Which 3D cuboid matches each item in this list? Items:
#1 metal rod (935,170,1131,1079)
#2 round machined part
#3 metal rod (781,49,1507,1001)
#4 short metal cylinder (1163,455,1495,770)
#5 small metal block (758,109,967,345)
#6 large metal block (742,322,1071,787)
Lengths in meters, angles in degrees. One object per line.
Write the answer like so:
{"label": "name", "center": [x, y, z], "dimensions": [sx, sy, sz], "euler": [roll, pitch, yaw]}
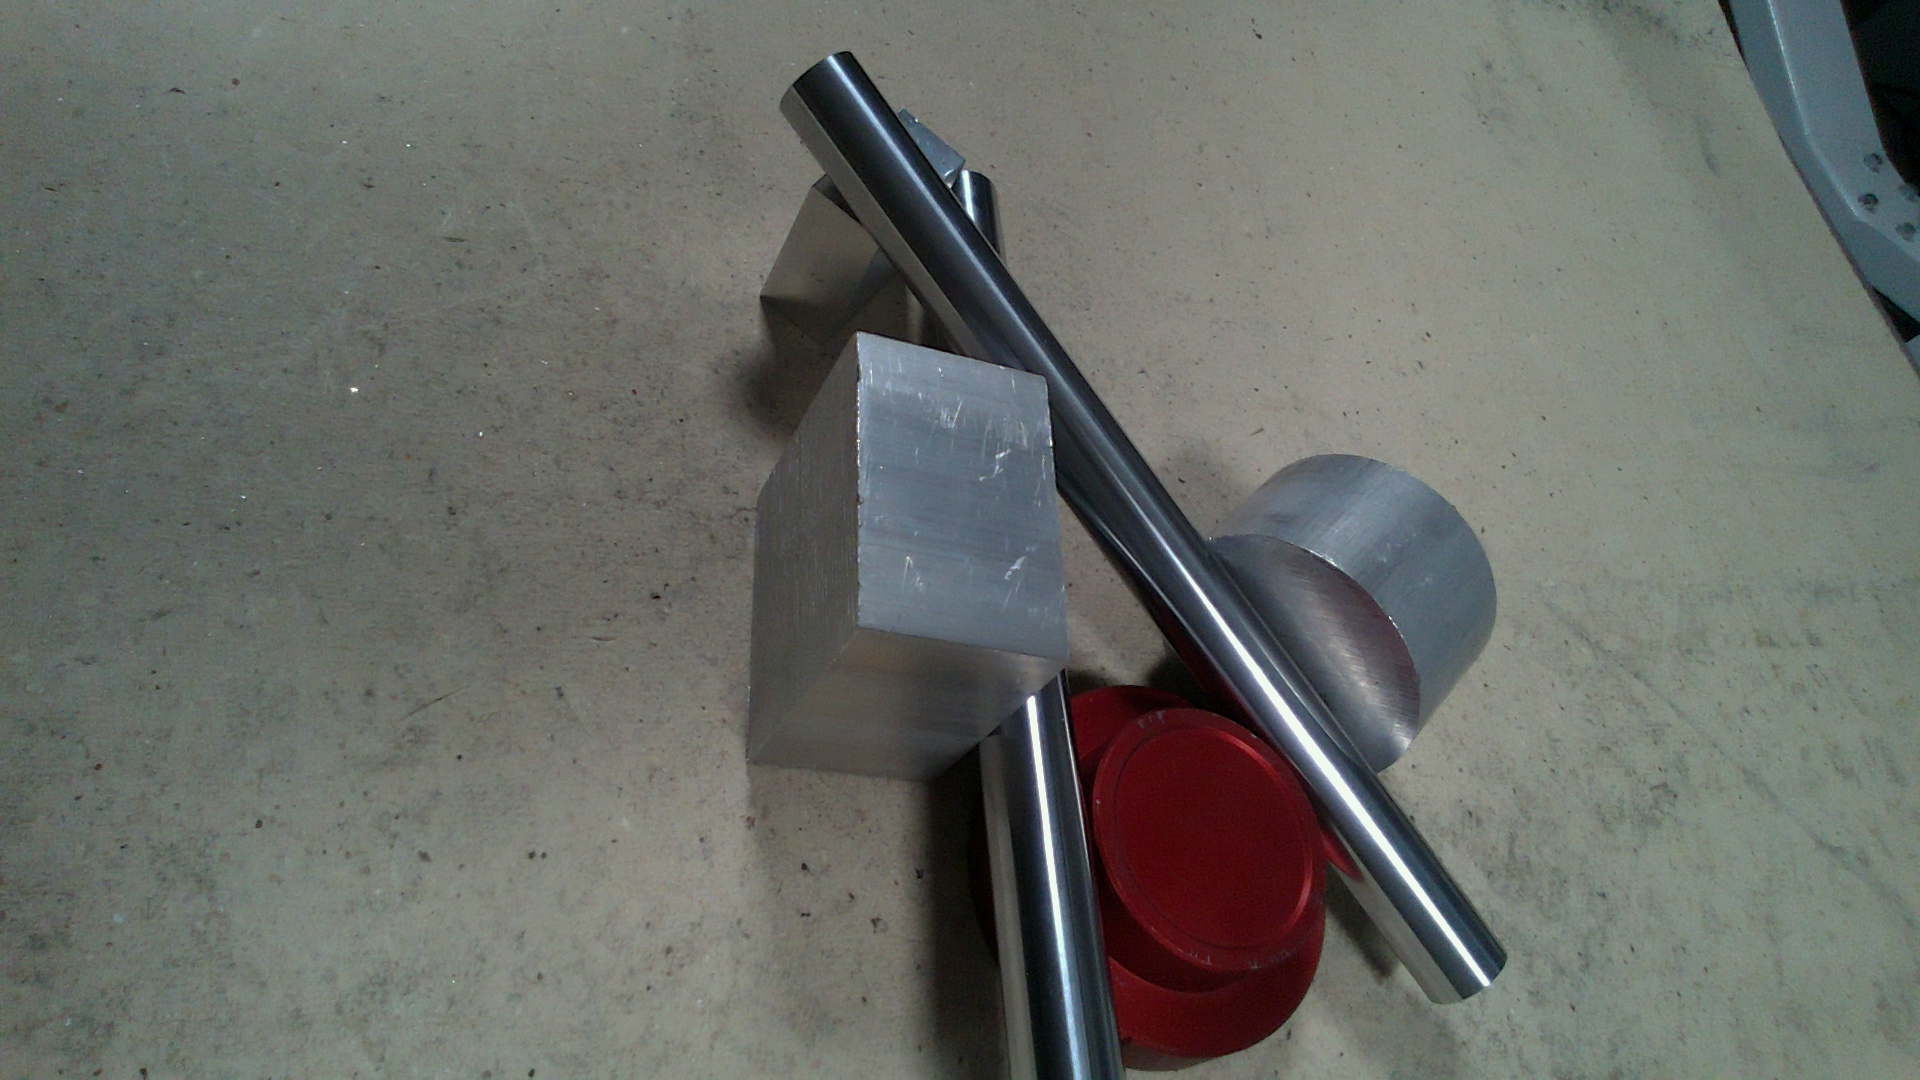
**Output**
{"label": "metal rod", "center": [0.013, 0.007, 0.373], "dimensions": [0.025, 0.025, 0.300], "euler": [11, 51, -22]}
{"label": "round machined part", "center": [0.055, 0.084, 0.358], "dimensions": [0.098, 0.042, 0.098], "euler": [14, 56, -21]}
{"label": "metal rod", "center": [0.050, -0.003, 0.375], "dimensions": [0.025, 0.025, 0.300], "euler": [-37, 91, -39]}
{"label": "short metal cylinder", "center": [0.105, 0.022, 0.398], "dimensions": [0.080, 0.080, 0.050], "euler": [49, 51, 6]}
{"label": "small metal block", "center": [-0.030, -0.095, 0.415], "dimensions": [0.025, 0.050, 0.050], "euler": [38, 51, -2]}
{"label": "large metal block", "center": [-0.017, 0.007, 0.342], "dimensions": [0.050, 0.080, 0.080], "euler": [11, 57, -22]}
